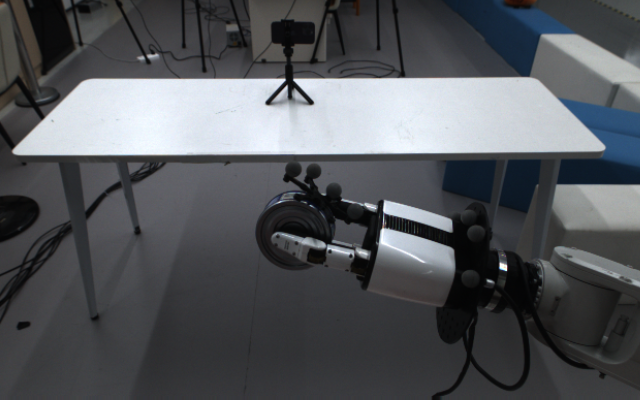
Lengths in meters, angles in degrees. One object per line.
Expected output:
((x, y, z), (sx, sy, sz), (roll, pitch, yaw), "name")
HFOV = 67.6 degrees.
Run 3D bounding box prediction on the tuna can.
((-0.023, 0.040, 0.534), (0.085, 0.085, 0.034), (7, 19, 6), "tuna can")
